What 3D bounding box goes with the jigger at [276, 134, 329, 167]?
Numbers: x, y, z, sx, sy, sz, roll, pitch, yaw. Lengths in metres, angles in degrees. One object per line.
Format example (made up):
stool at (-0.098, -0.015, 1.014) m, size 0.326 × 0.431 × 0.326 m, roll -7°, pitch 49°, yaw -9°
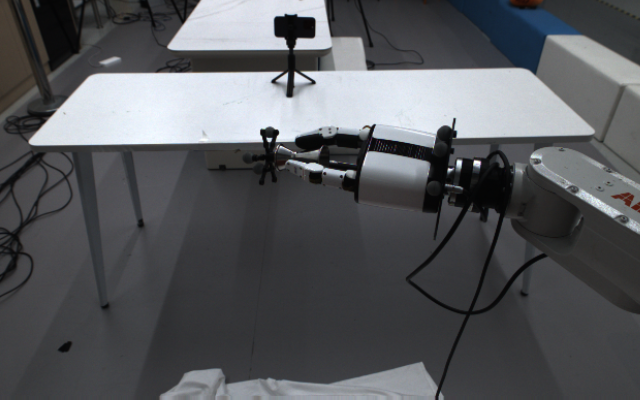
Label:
jigger at (-0.018, -0.063, 0.677) m, size 0.071 × 0.043 × 0.043 m, roll 5°, pitch 34°, yaw 20°
